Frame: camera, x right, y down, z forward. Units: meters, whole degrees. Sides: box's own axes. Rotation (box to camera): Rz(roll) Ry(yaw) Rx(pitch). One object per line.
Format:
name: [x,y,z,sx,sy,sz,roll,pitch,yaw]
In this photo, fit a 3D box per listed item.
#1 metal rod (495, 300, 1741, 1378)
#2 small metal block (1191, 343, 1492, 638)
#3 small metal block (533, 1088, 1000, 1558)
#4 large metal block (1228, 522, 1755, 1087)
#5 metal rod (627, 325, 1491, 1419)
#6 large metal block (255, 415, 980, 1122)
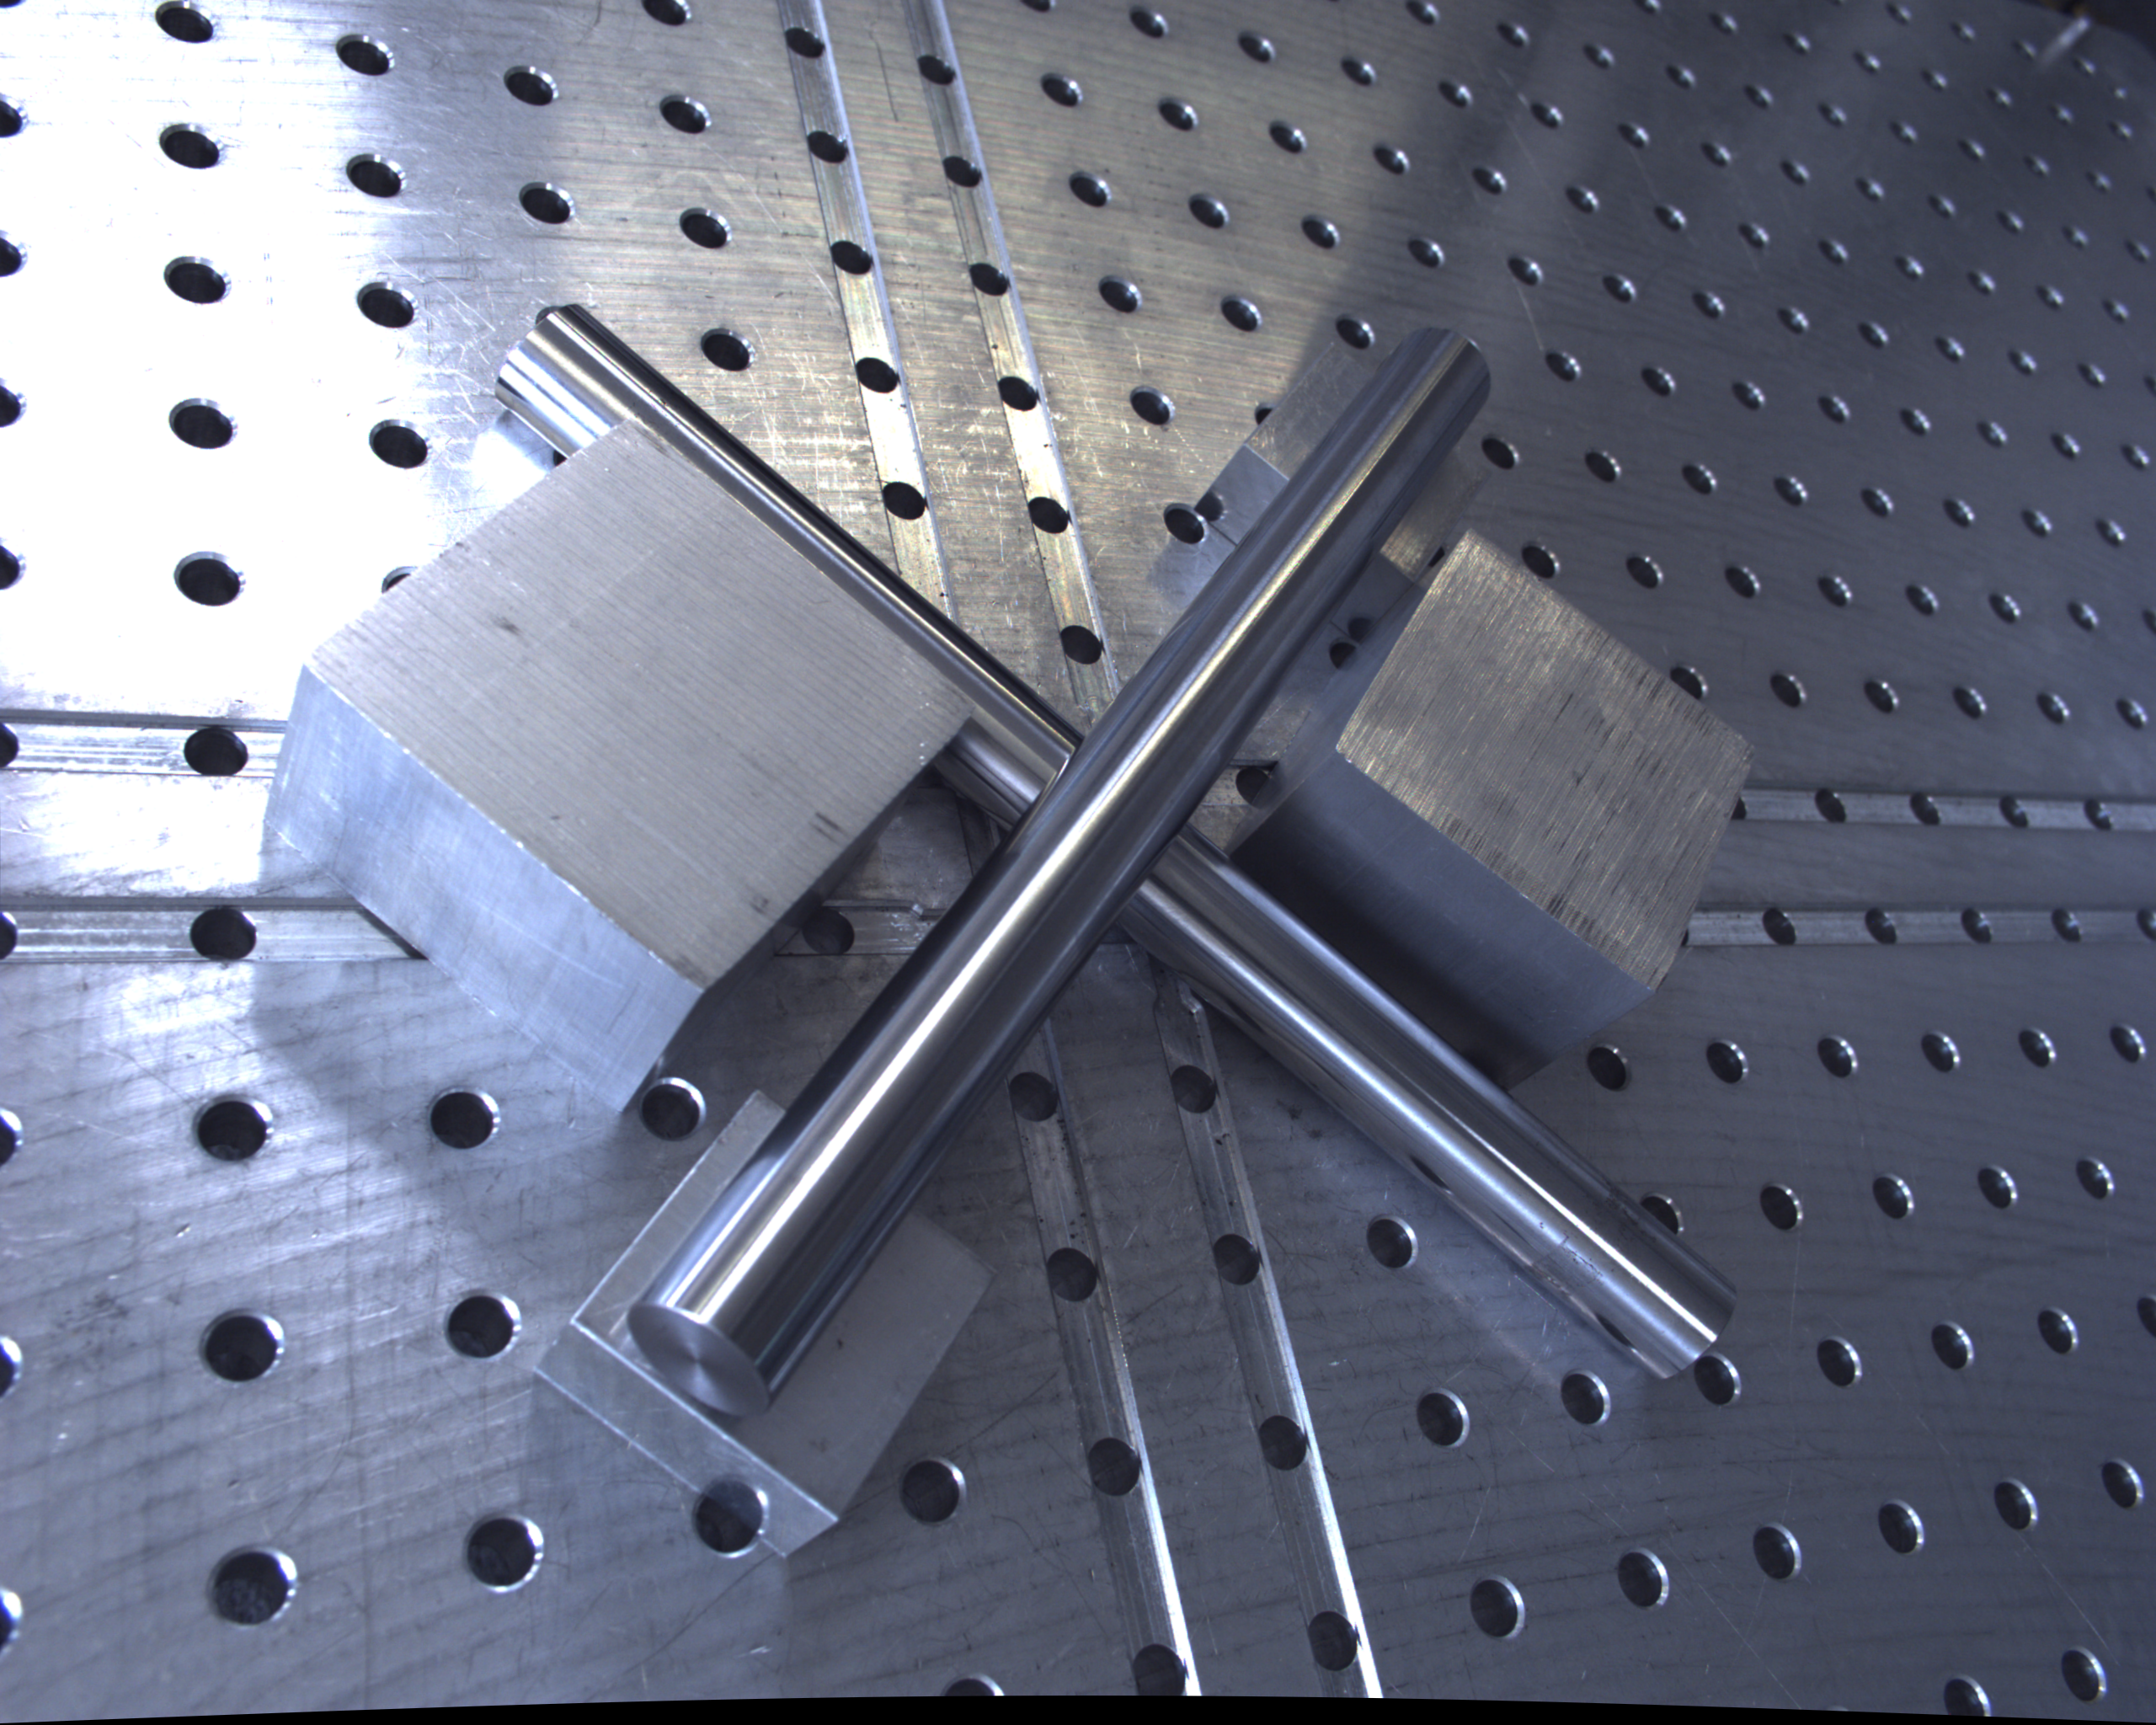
metal rod: [0.009,-0.004,0.414,0.300,0.025,0.025,40,51,-1]
small metal block: [0.063,-0.088,0.496,0.050,0.025,0.050,39,51,-2]
small metal block: [-0.049,0.074,0.336,0.050,0.025,0.050,38,51,-3]
large metal block: [0.088,-0.012,0.447,0.080,0.050,0.080,37,51,-4]
metal rod: [0.015,-0.022,0.397,0.025,0.025,0.301,39,51,-2]
large metal block: [-0.078,-0.017,0.360,0.080,0.050,0.080,40,51,-1]
